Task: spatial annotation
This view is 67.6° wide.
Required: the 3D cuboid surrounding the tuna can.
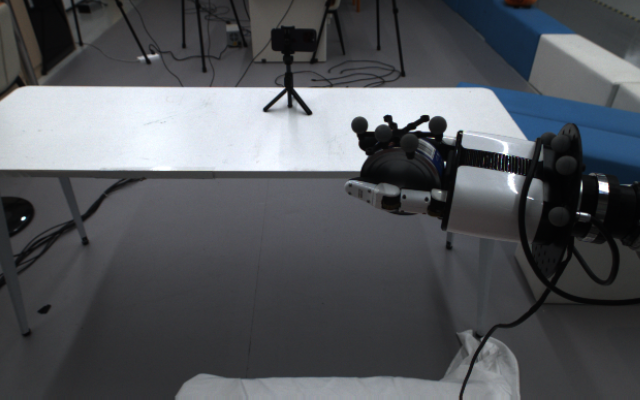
[{"bbox_3d":[0.091,-0.029,0.520,0.085,0.085,0.034,14,41,16],"label":"tuna can"}]
